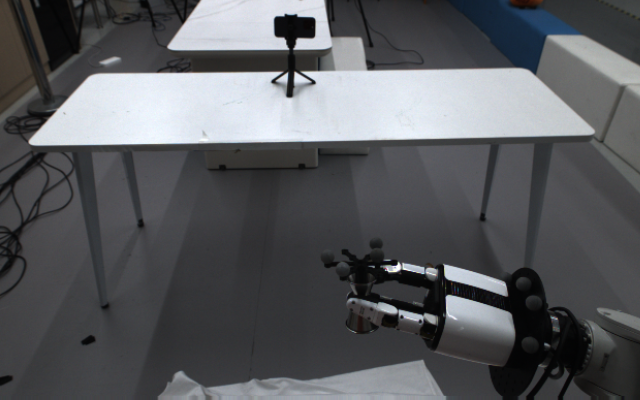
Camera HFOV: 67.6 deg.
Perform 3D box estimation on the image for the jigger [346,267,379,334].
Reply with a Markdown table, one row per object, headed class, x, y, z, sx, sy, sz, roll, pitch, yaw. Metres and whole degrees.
| class | x | y | z | sx | sy | sz | roll | pitch | yaw |
| --- | --- | --- | --- | --- | --- | --- | --- | --- | --- |
| jigger | 0.052 | 0.125 | 0.603 | 0.043 | 0.071 | 0.043 | -2 | 19 | 1 |
